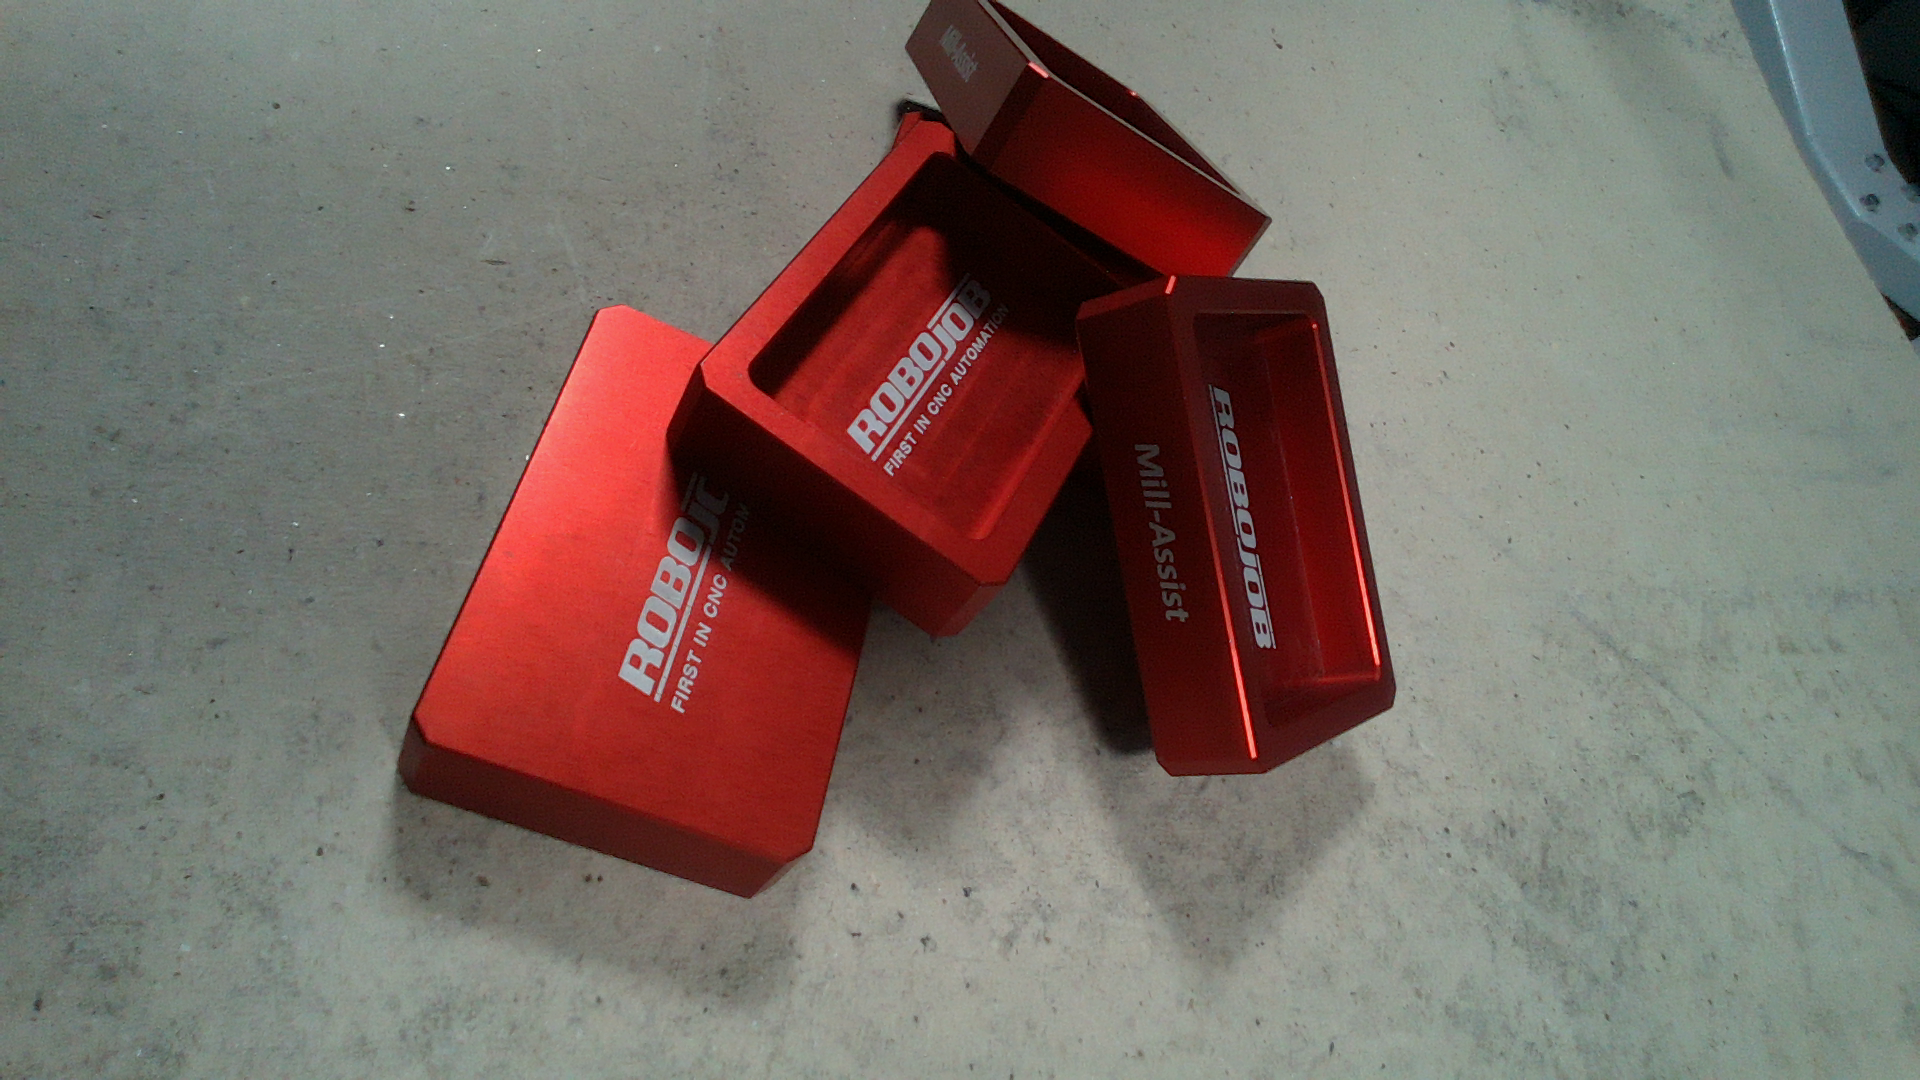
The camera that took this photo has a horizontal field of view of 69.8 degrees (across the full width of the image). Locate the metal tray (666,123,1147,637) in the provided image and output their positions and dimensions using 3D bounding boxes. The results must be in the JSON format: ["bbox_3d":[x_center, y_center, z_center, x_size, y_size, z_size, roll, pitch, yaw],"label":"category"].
[{"bbox_3d":[-0.006,-0.048,0.374,0.090,0.030,0.130,36,51,-4],"label":"metal tray"}]

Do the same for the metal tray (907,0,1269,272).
[{"bbox_3d":[0.036,-0.132,0.443,0.090,0.030,0.130,24,25,-25],"label":"metal tray"}]

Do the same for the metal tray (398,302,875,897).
[{"bbox_3d":[-0.069,0.011,0.342,0.090,0.030,0.130,22,53,-15],"label":"metal tray"}]

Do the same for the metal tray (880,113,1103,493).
[{"bbox_3d":[0.025,-0.073,0.445,0.130,0.030,0.090,24,53,-13],"label":"metal tray"}]

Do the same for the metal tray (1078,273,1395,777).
[{"bbox_3d":[0.081,-0.007,0.391,0.090,0.030,0.130,-11,90,-50],"label":"metal tray"}]
